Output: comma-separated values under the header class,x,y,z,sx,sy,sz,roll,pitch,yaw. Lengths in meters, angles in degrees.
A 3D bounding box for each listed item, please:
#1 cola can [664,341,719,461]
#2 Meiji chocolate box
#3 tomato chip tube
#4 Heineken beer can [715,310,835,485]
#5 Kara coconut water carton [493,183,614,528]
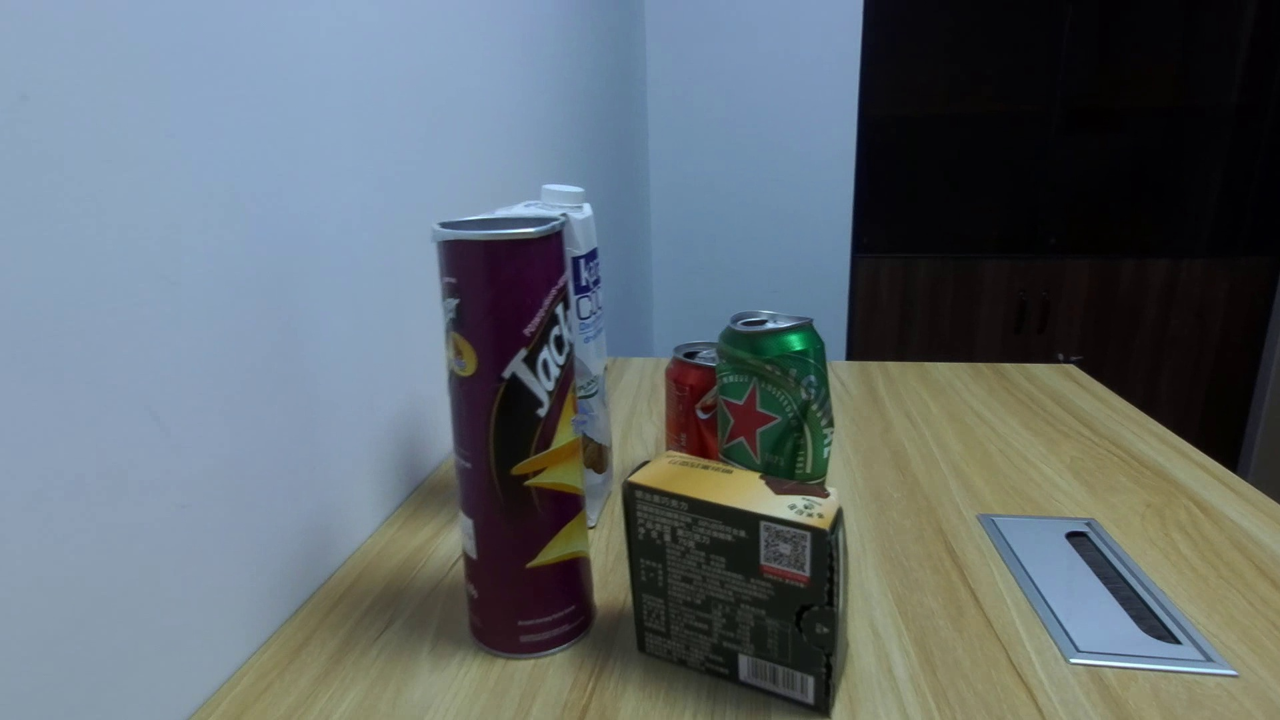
class,x,y,z,sx,sy,sz,roll,pitch,yaw
cola can,0.054,0.046,0.574,0.072,0.117,0.065,-15,19,-35
Meiji chocolate box,0.054,0.110,0.372,0.113,0.111,0.058,6,20,28
tomato chip tube,-0.068,0.043,0.395,0.076,0.234,0.080,5,18,24
Heineken beer can,0.088,0.053,0.471,0.066,0.164,0.077,-2,14,-2
Kara coconut water carton,-0.064,0.001,0.517,0.075,0.245,0.077,-1,14,13
